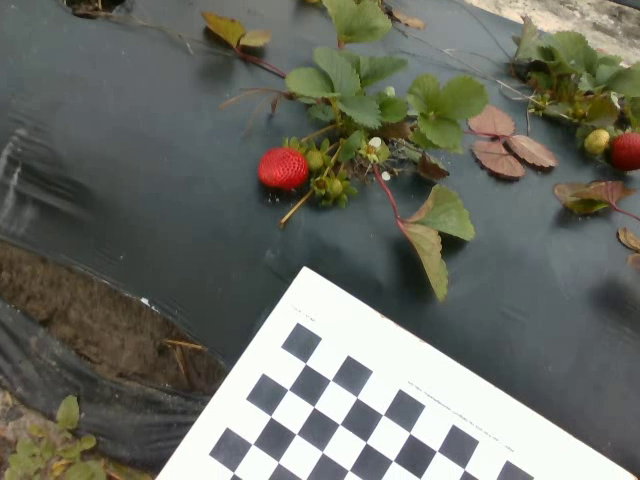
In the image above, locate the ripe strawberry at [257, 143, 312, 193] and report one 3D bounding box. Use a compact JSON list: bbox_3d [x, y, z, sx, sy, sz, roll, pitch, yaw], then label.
[{"bbox_3d":[-0.010,-0.018,0.154,0.014,0.018,0.017,-51,-1,36],"label":"ripe strawberry"}]
